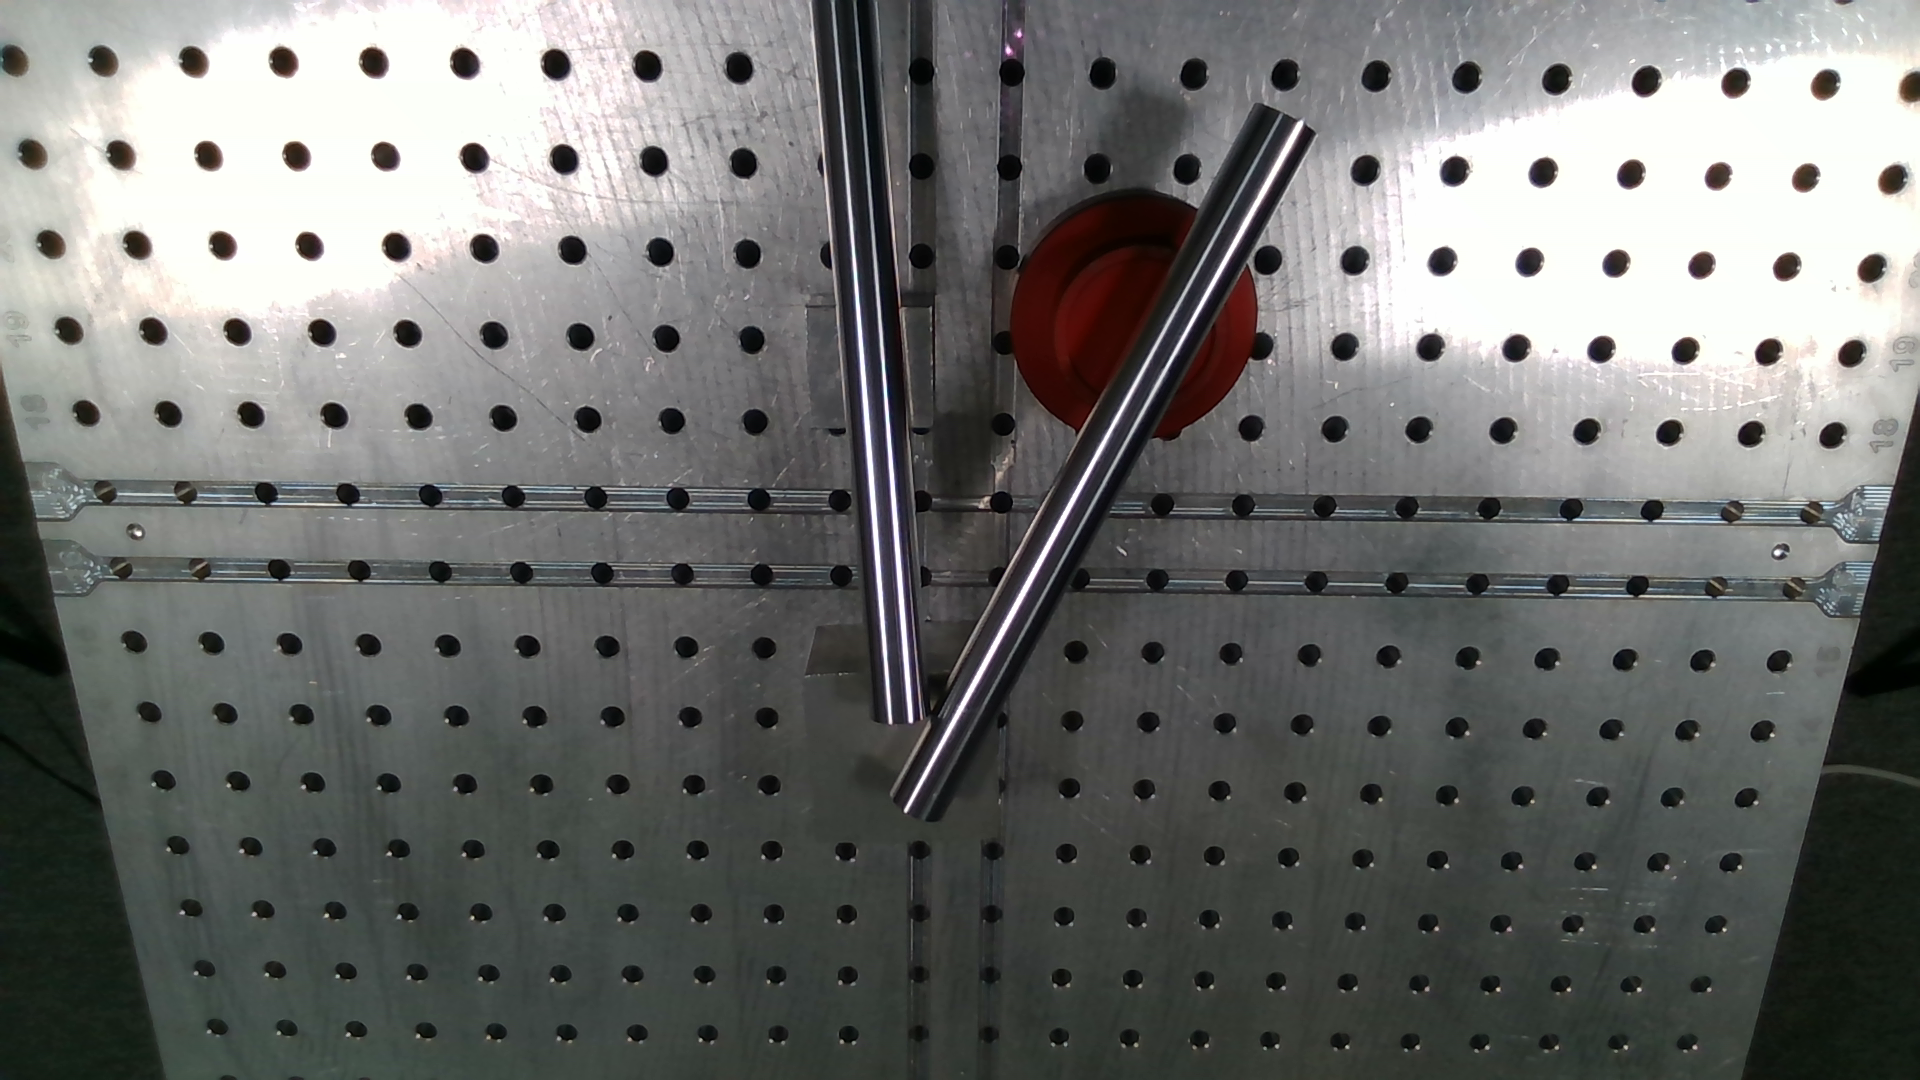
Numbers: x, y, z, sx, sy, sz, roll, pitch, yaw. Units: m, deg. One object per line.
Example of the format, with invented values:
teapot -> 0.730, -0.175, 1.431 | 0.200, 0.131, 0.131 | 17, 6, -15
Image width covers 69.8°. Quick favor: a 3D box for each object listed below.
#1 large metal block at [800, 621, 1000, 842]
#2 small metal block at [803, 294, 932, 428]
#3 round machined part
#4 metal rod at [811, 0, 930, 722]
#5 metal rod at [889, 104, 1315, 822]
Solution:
large metal block -> -0.024, 0.083, 0.601 | 0.080, 0.050, 0.080 | -2, 110, 1
small metal block -> -0.037, -0.073, 0.560 | 0.050, 0.025, 0.050 | 0, 110, 0
round machined part -> 0.069, -0.087, 0.545 | 0.098, 0.042, 0.098 | 0, 110, 0
metal rod -> -0.034, -0.078, 0.529 | 0.025, 0.025, 0.300 | -4, 100, 1
metal rod -> 0.048, -0.020, 0.528 | 0.025, 0.025, 0.300 | 25, 106, -9
